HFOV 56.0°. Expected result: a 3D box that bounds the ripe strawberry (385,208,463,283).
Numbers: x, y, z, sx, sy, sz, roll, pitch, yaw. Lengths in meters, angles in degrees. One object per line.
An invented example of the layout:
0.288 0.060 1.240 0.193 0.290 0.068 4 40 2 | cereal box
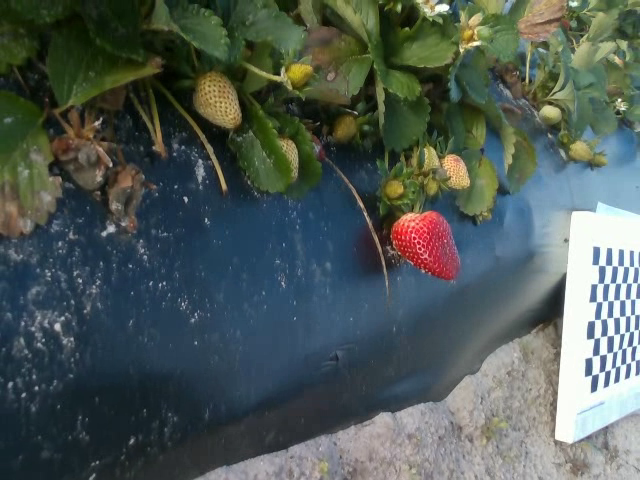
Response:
0.092 0.005 0.487 0.052 0.068 0.045 -2 -38 -47 | ripe strawberry
